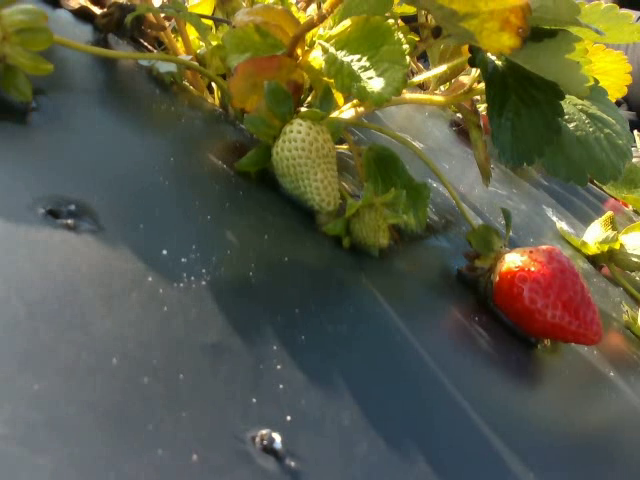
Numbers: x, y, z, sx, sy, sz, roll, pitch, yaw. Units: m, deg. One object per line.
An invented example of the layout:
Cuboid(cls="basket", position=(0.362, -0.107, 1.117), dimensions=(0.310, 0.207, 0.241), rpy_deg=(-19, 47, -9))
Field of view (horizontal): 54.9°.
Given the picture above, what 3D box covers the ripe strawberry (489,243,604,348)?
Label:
Cuboid(cls="ripe strawberry", position=(0.072, 0.020, 0.187), dimensions=(0.030, 0.045, 0.033), rpy_deg=(-30, -33, -17))
